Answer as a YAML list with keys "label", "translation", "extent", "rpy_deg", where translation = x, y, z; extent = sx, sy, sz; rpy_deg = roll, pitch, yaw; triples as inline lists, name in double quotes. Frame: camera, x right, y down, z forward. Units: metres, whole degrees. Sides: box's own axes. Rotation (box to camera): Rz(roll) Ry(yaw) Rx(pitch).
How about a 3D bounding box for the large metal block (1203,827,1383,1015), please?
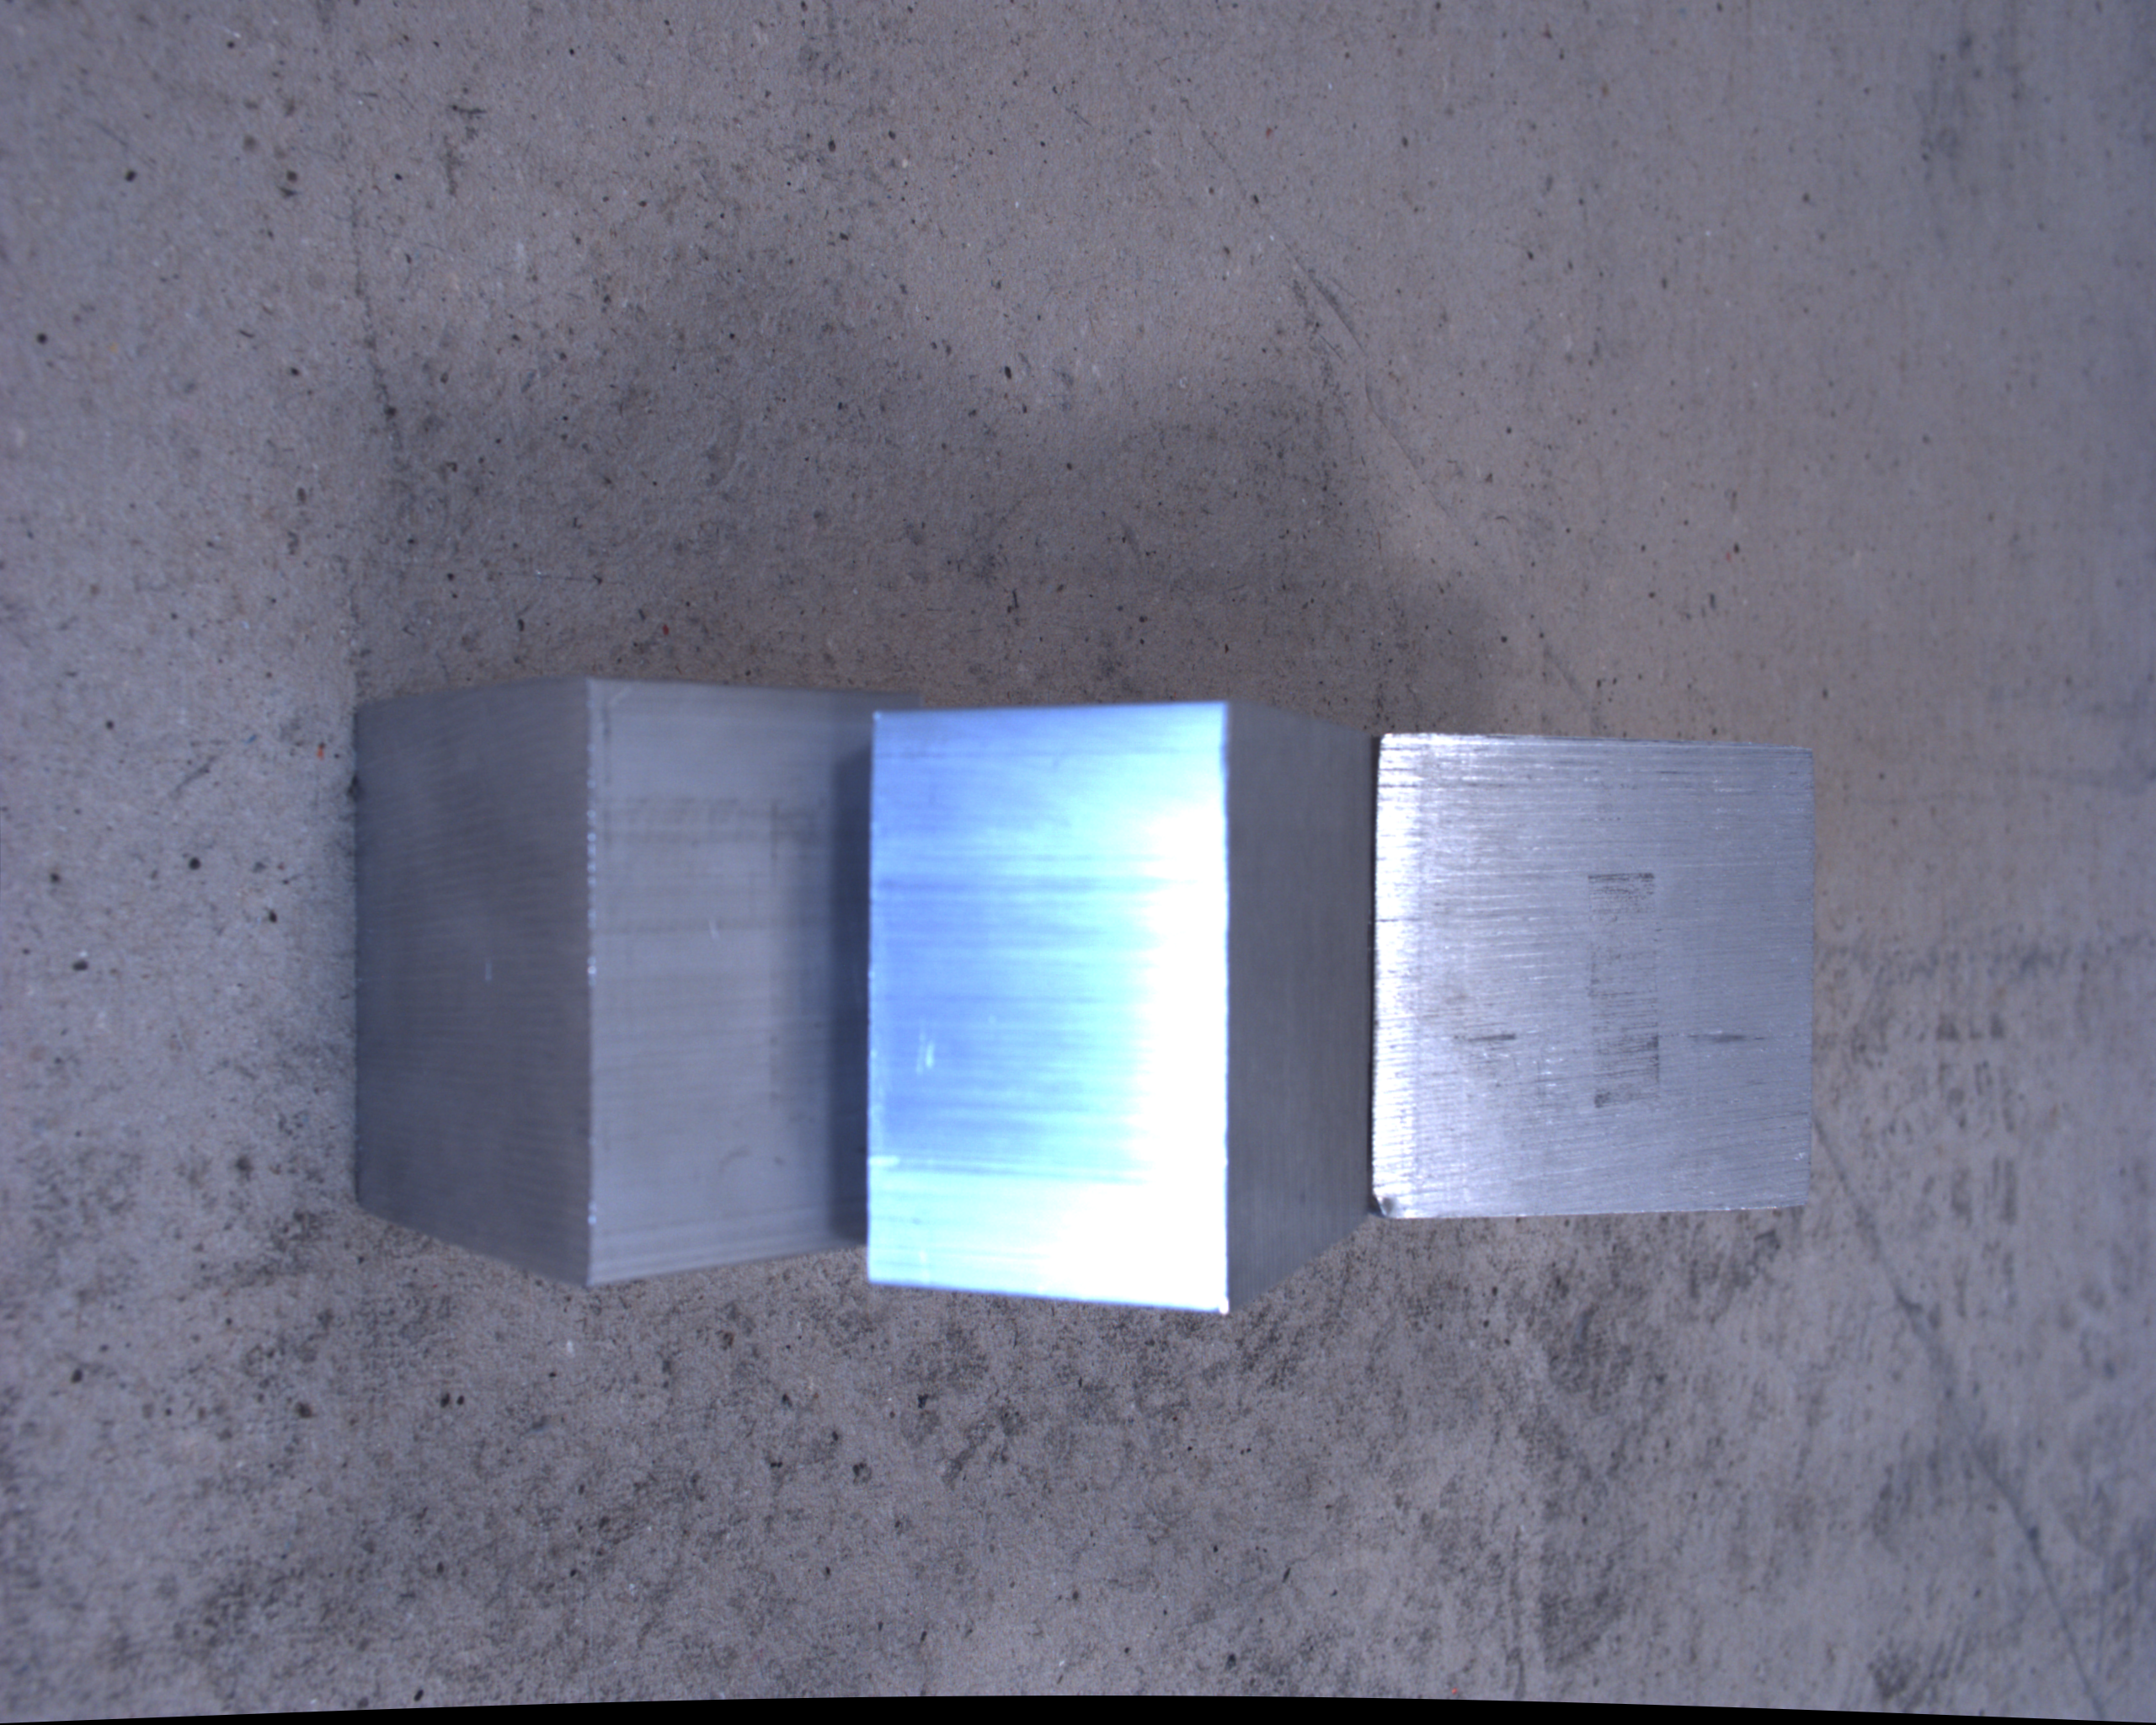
- label: "large metal block"
  translation: [0.037, 0.021, 0.420]
  extent: [0.081, 0.050, 0.080]
  rpy_deg: [0, 90, -40]

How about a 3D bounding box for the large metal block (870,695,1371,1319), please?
- label: "large metal block"
  translation: [0.010, 0.018, 0.312]
  extent: [0.080, 0.050, 0.080]
  rpy_deg: [1, 89, -69]

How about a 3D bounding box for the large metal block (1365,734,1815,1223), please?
- label: "large metal block"
  translation: [0.081, 0.019, 0.373]
  extent: [0.081, 0.050, 0.080]
  rpy_deg: [1, 89, -13]

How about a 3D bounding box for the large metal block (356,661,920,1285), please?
- label: "large metal block"
  translation: [-0.068, 0.014, 0.313]
  extent: [0.050, 0.080, 0.080]
  rpy_deg: [-1, 89, -40]

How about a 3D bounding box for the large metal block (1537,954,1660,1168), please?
- label: "large metal block"
  translation: [0.096, 0.027, 0.452]
  extent: [0.050, 0.080, 0.080]
  rpy_deg: [0, 90, -41]

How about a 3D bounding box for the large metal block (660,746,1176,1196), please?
- label: "large metal block"
  translation: [-0.026, 0.018, 0.368]
  extent: [0.081, 0.050, 0.080]
  rpy_deg: [0, 90, -40]
